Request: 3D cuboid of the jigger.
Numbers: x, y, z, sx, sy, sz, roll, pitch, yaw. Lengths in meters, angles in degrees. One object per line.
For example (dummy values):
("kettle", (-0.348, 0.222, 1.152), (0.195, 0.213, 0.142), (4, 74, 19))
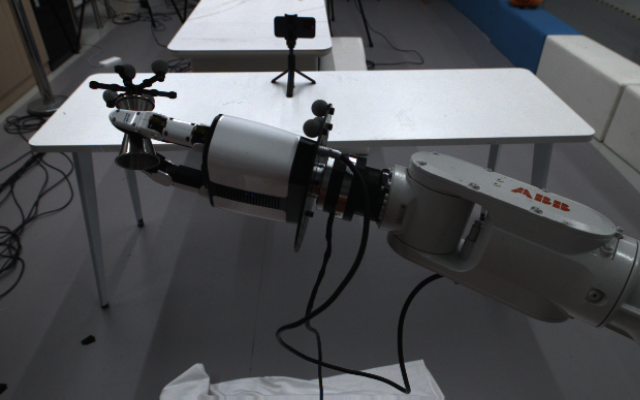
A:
("jigger", (-0.193, -0.070, 0.514), (0.043, 0.043, 0.071), (-6, 73, -12))
